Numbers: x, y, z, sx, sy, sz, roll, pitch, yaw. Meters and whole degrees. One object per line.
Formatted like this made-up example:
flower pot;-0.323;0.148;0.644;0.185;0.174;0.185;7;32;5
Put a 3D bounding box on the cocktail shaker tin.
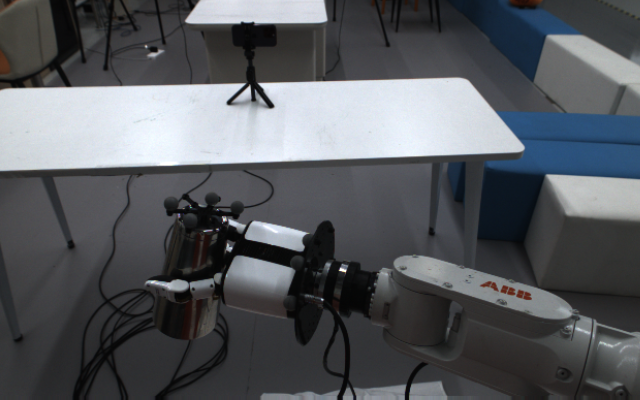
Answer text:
cocktail shaker tin;-0.167;0.092;0.648;0.093;0.170;0.093;12;29;-7
